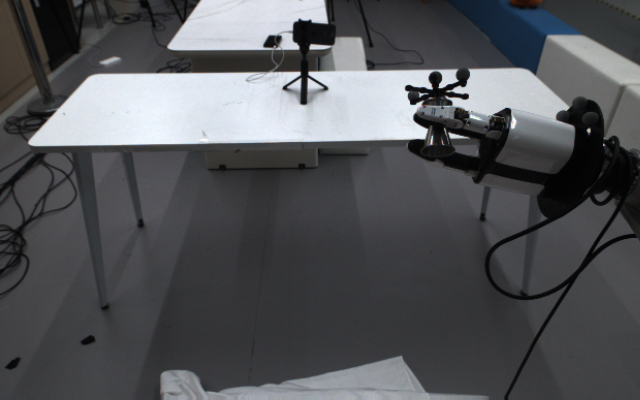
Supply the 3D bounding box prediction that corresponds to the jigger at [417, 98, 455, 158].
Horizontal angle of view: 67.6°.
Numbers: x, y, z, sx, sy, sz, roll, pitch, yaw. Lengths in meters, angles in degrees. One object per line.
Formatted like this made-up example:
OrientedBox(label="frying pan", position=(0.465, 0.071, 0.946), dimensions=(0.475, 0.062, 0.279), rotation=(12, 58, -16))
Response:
OrientedBox(label="jigger", position=(0.153, -0.096, 0.640), dimensions=(0.043, 0.043, 0.071), rotation=(3, 75, 1))
